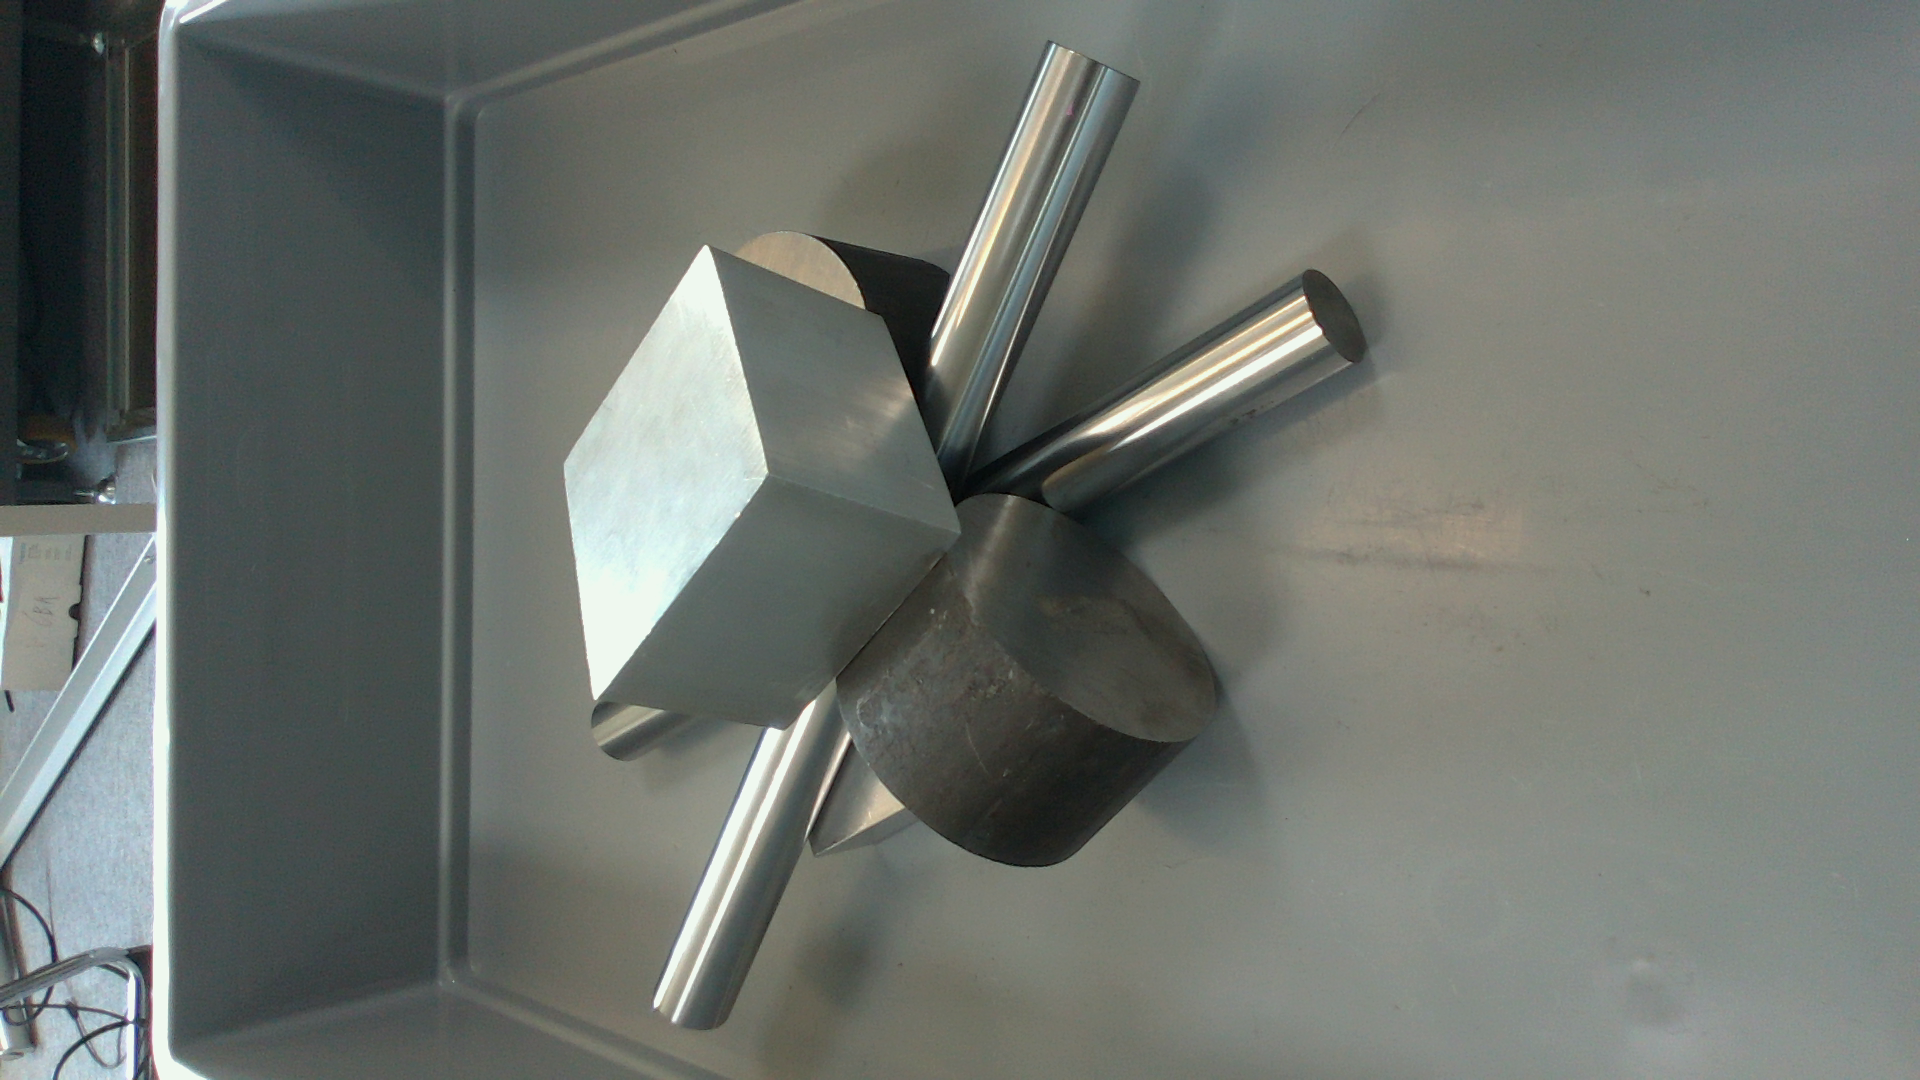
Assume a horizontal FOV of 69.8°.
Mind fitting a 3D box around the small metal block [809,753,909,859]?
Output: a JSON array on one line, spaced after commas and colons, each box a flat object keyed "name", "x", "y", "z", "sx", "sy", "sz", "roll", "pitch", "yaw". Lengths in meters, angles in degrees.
[{"name": "small metal block", "x": -0.028, "y": 0.062, "z": 0.417, "sx": 0.050, "sy": 0.025, "sz": 0.050, "roll": -35, "pitch": 68, "yaw": 35}]

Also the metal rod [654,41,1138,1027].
[{"name": "metal rod", "x": -0.026, "y": 0.013, "z": 0.383, "sx": 0.025, "sy": 0.025, "sz": 0.300, "roll": 37, "pitch": 113, "yaw": 34}]

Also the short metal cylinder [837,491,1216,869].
[{"name": "short metal cylinder", "x": 0.017, "y": 0.034, "z": 0.344, "sx": 0.050, "sy": 0.080, "sz": 0.080, "roll": -51, "pitch": 60, "yaw": 29}]

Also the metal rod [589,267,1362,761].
[{"name": "metal rod", "x": -0.018, "y": 0.008, "z": 0.408, "sx": 0.299, "sy": 0.025, "sz": 0.025, "roll": -30, "pitch": 71, "yaw": 36}]

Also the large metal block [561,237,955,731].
[{"name": "large metal block", "x": -0.054, "y": -0.012, "z": 0.340, "sx": 0.080, "sy": 0.050, "sz": 0.080, "roll": -48, "pitch": 44, "yaw": 30}]

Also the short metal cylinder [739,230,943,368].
[{"name": "short metal cylinder", "x": -0.037, "y": -0.047, "z": 0.408, "sx": 0.080, "sy": 0.050, "sz": 0.080, "roll": 0, "pitch": 90, "yaw": 40}]
